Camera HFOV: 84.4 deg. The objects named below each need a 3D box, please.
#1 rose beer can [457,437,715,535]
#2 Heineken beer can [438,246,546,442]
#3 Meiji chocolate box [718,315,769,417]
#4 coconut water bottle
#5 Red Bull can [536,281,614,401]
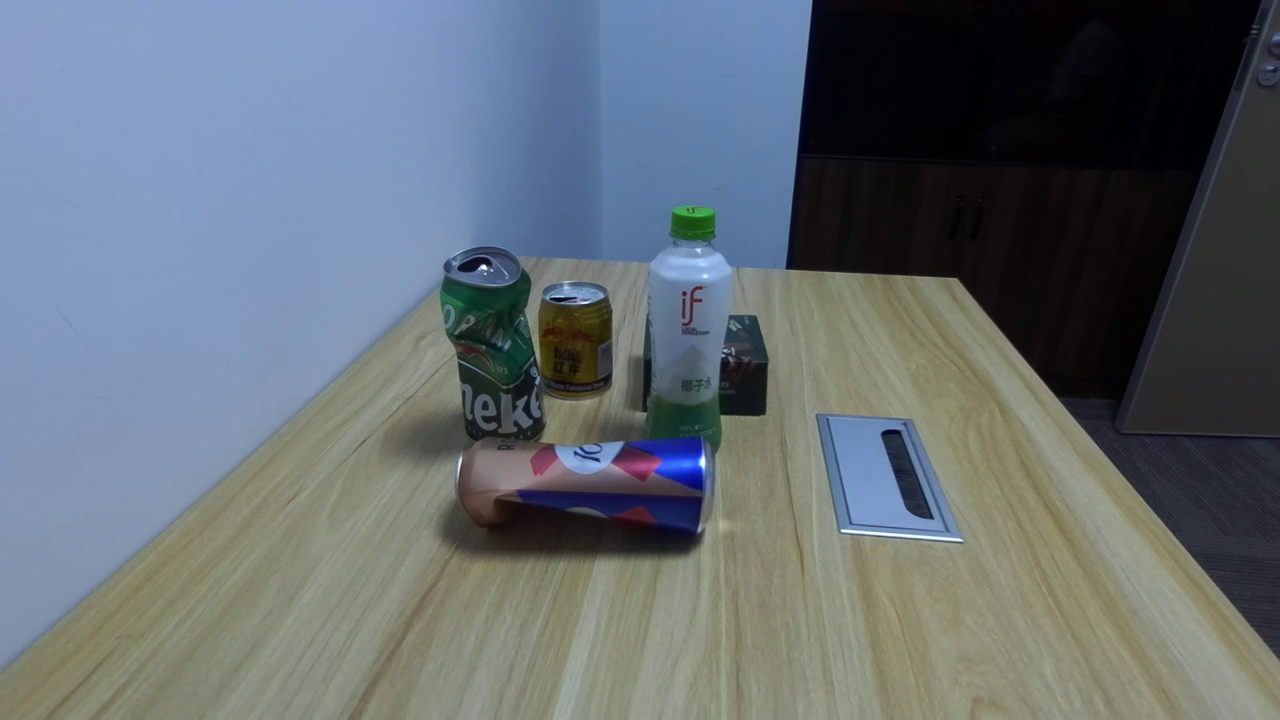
[{"bbox_3d":[-0.034,0.080,0.469,0.168,0.069,0.070,0,44,3],"label":"rose beer can"},{"bbox_3d":[-0.112,-0.006,0.546,0.067,0.159,0.078,-10,33,-16],"label":"Heineken beer can"},{"bbox_3d":[0.058,0.002,0.649,0.109,0.056,0.110,1,25,2],"label":"Meiji chocolate box"},{"bbox_3d":[0.035,-0.017,0.528,0.063,0.188,0.063,2,23,0],"label":"coconut water bottle"},{"bbox_3d":[-0.058,-0.019,0.641,0.069,0.092,0.069,1,25,0],"label":"Red Bull can"}]
